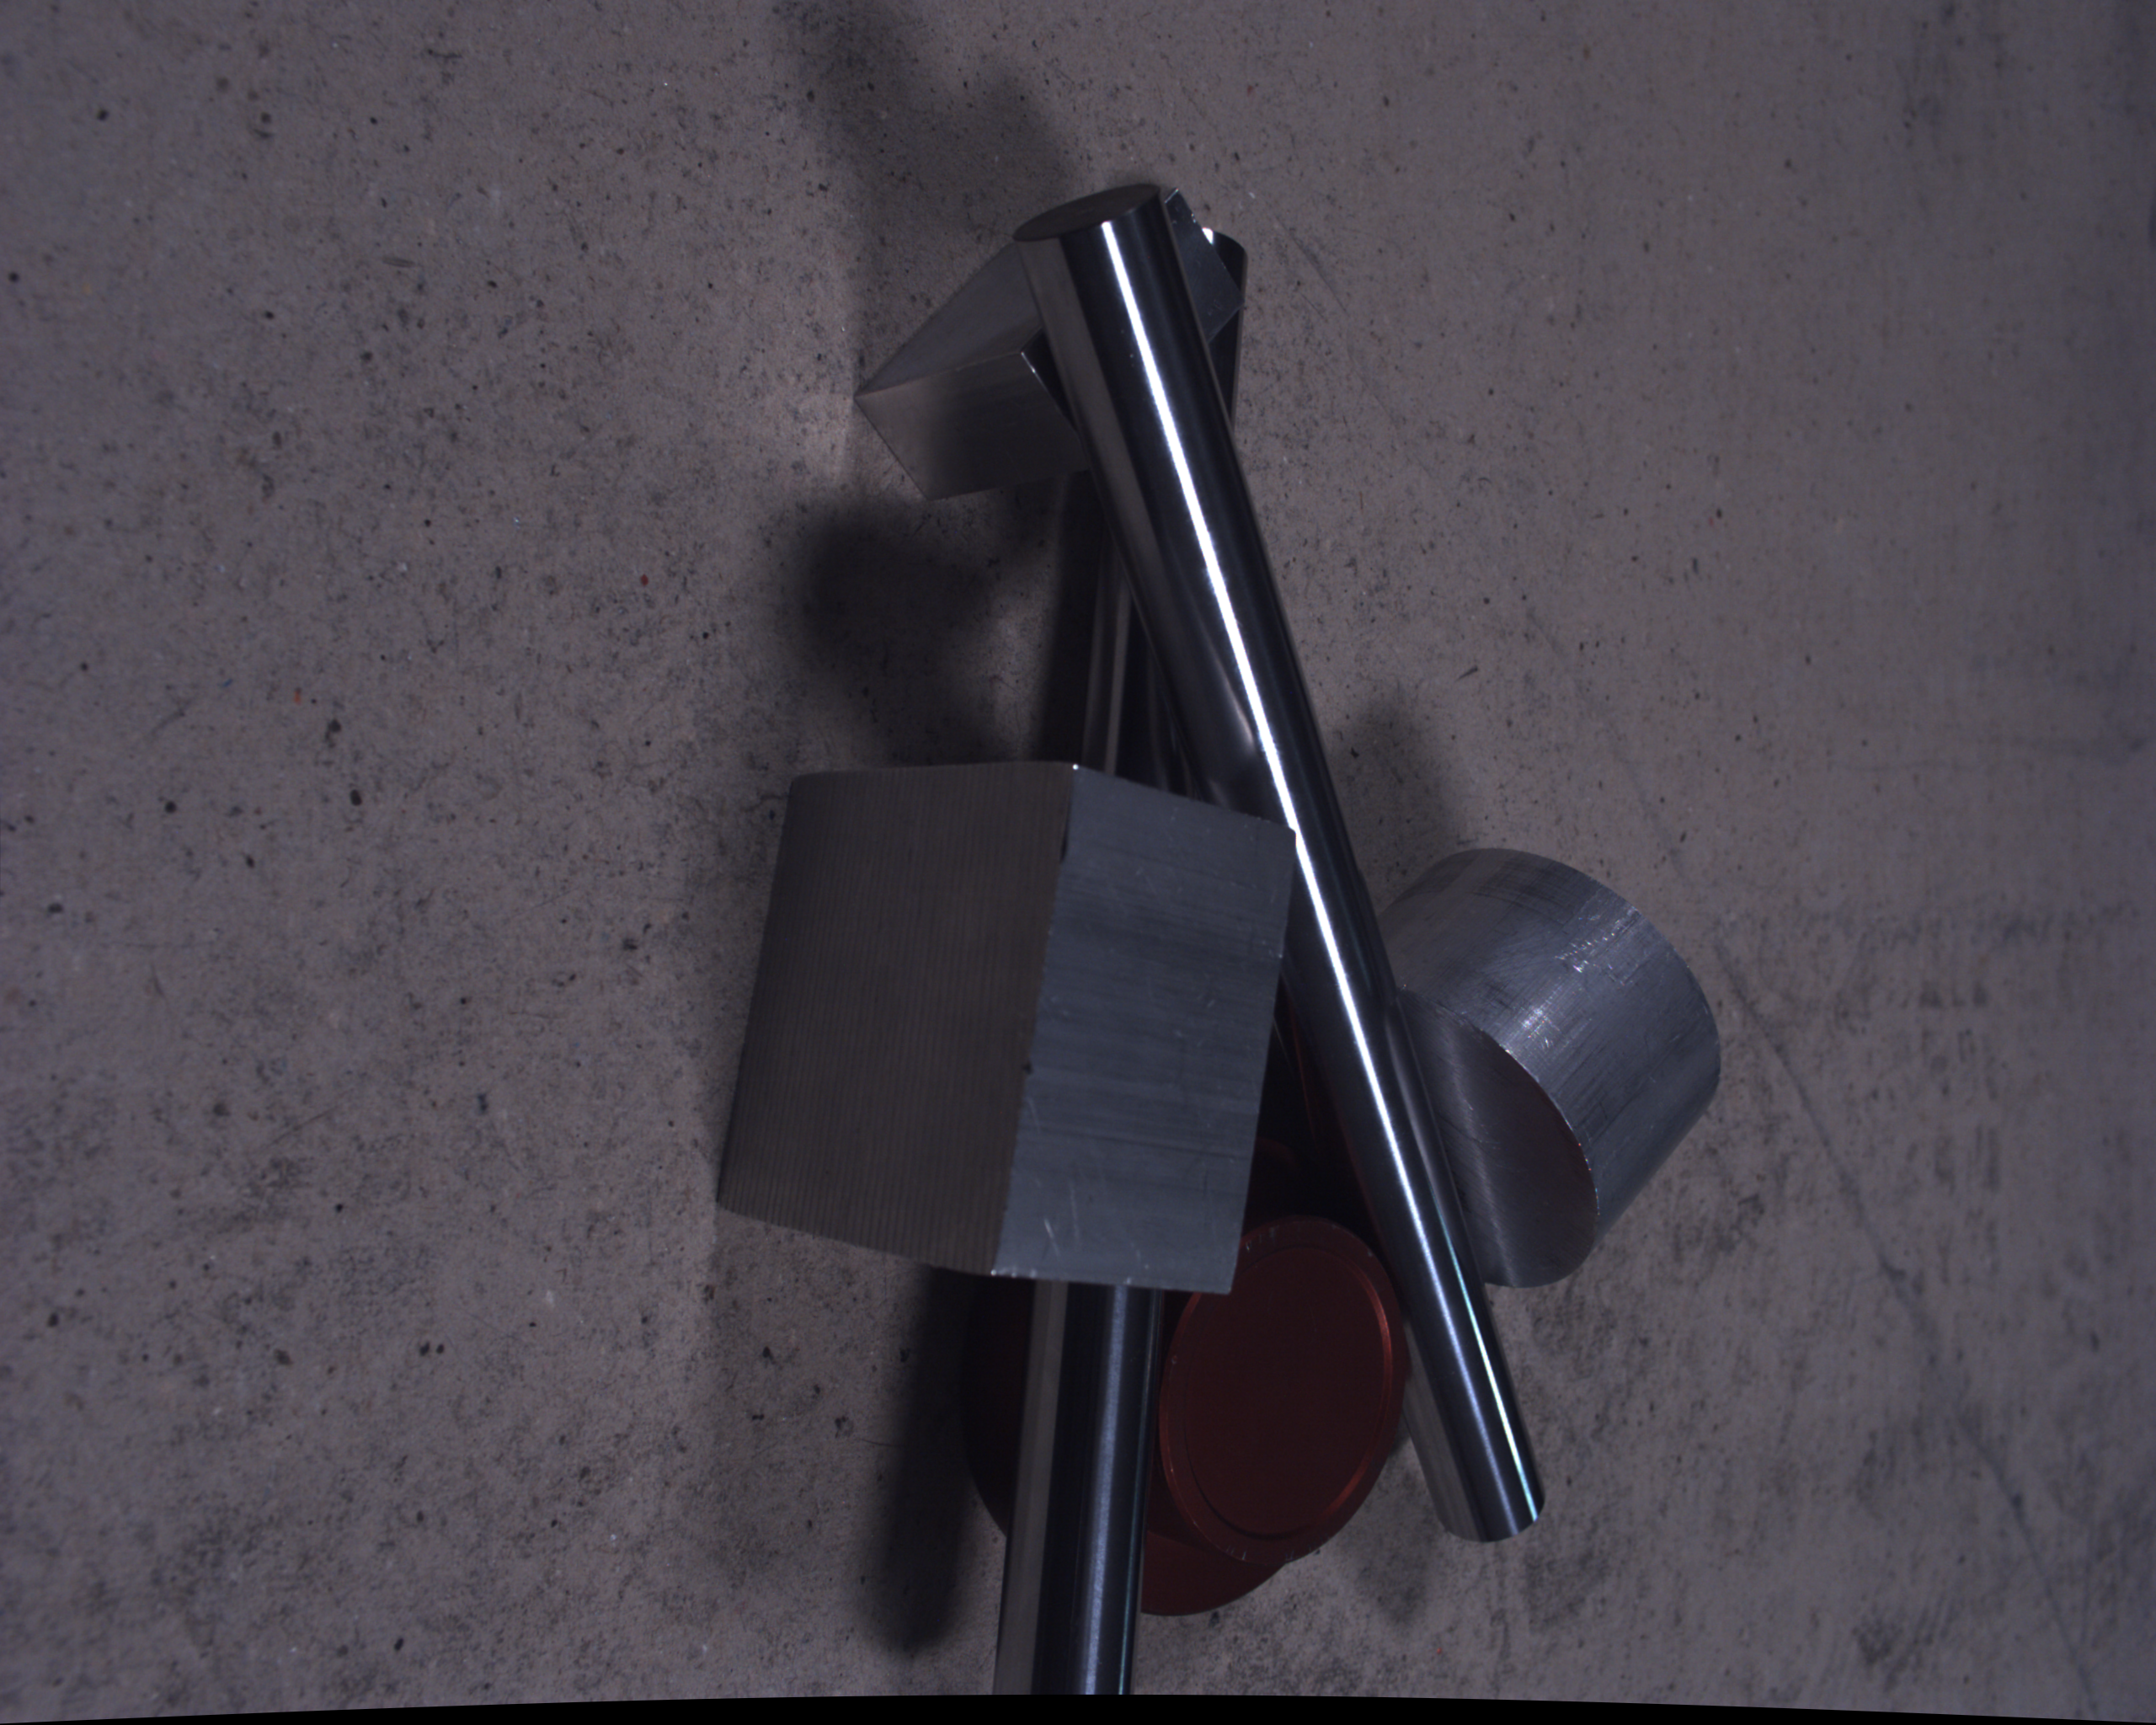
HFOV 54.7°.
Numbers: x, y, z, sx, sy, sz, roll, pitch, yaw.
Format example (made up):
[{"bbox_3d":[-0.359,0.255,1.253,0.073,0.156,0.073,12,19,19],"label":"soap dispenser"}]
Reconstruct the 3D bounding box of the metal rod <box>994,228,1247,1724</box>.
[{"bbox_3d":[0.009,0.021,0.396,0.025,0.025,0.299,15,74,-39],"label":"metal rod"}]

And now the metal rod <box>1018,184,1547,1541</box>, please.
[{"bbox_3d":[0.048,0.020,0.404,0.025,0.025,0.298,-40,123,-33],"label":"metal rod"}]

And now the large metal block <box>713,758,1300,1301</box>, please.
[{"bbox_3d":[-0.014,0.028,0.361,0.050,0.080,0.080,15,80,-39],"label":"large metal block"}]

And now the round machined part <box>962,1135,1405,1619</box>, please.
[{"bbox_3d":[0.028,0.103,0.422,0.099,0.042,0.097,0,90,-40],"label":"round machined part"}]

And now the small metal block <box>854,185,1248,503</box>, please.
[{"bbox_3d":[-0.005,-0.095,0.387,0.050,0.050,0.025,-52,121,-27],"label":"small metal block"}]

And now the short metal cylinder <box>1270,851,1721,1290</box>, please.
[{"bbox_3d":[0.089,0.044,0.448,0.050,0.080,0.080,-40,115,-33],"label":"short metal cylinder"}]
